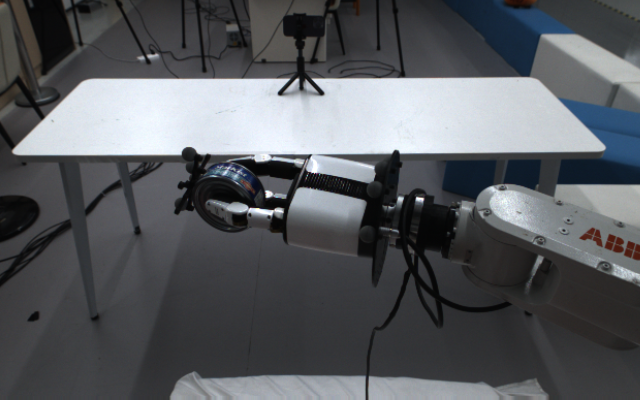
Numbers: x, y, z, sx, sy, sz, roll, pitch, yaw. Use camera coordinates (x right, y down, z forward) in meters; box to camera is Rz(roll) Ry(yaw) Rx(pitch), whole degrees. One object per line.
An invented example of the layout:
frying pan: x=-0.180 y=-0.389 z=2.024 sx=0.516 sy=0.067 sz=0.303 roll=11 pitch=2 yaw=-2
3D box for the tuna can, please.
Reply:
tuna can: x=-0.109 y=0.002 z=0.591 sx=0.085 sy=0.085 sz=0.034 roll=9 pitch=36 yaw=10
